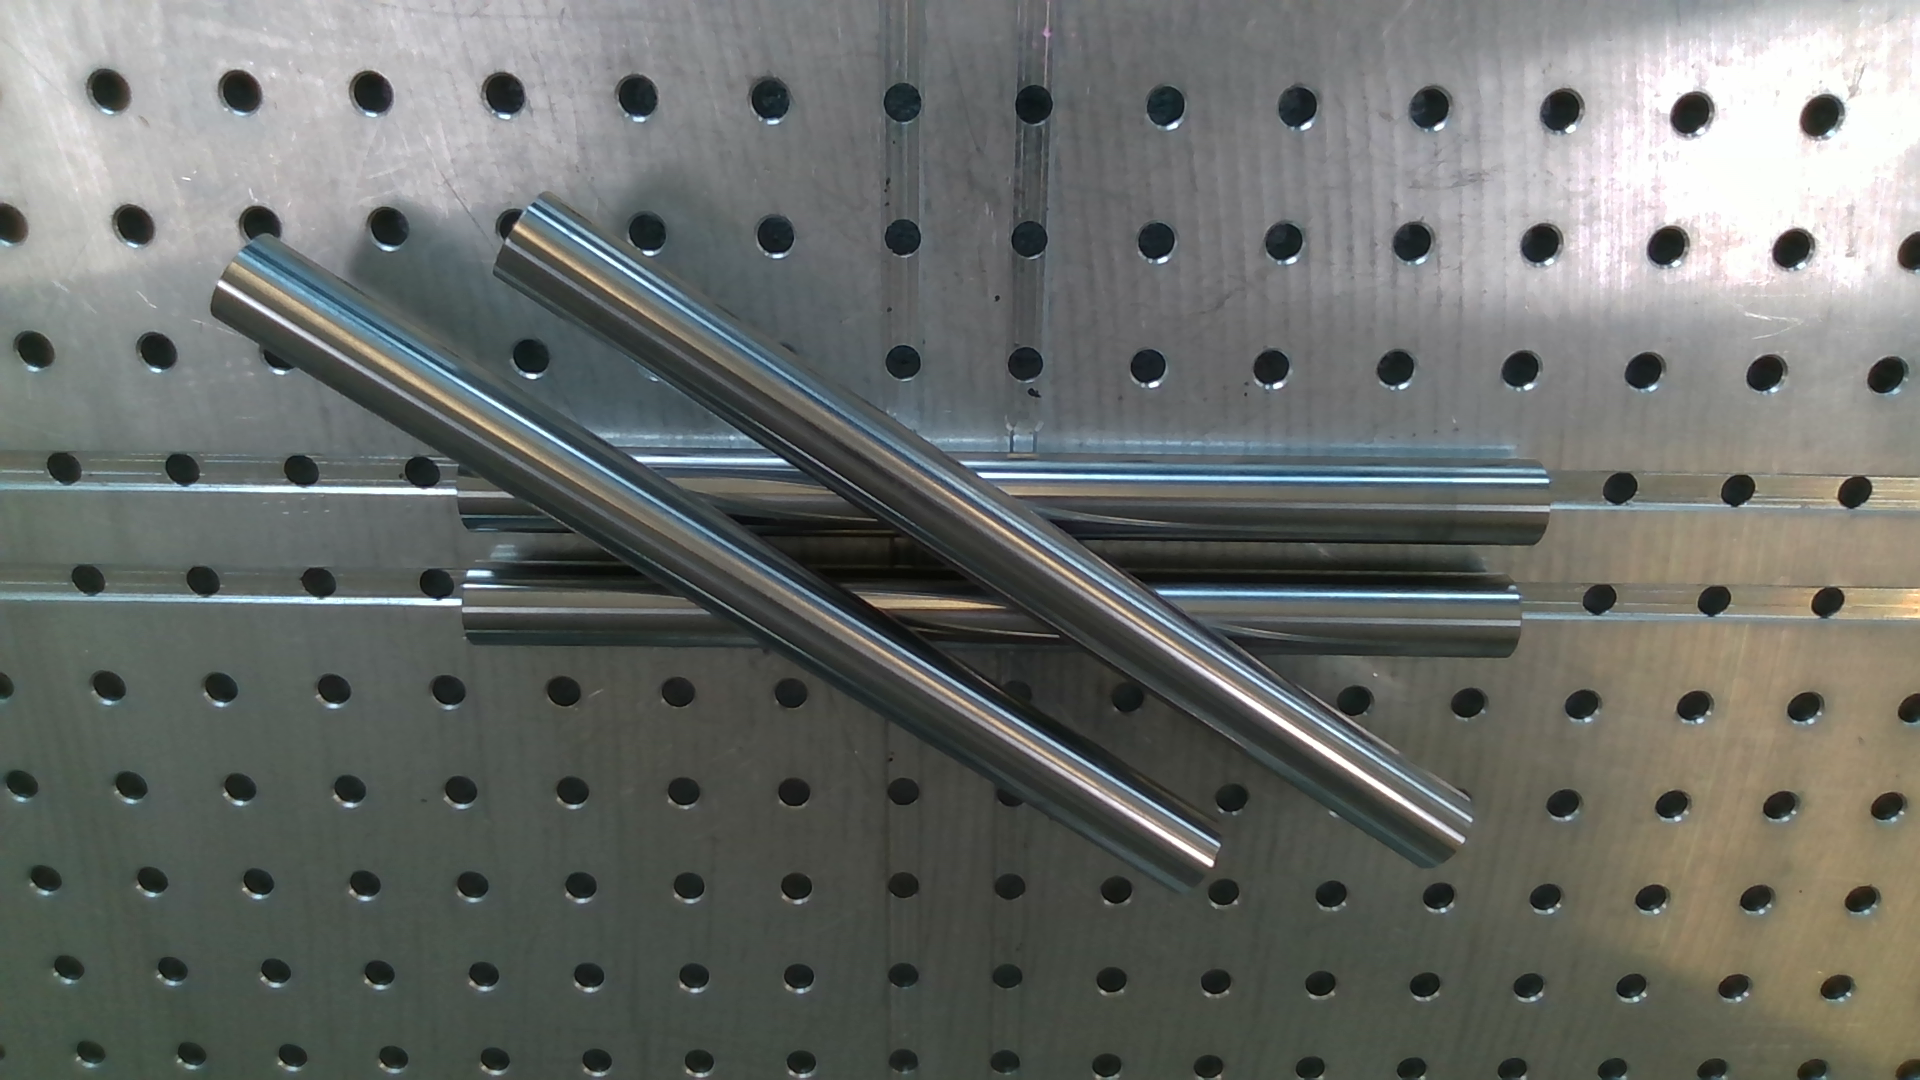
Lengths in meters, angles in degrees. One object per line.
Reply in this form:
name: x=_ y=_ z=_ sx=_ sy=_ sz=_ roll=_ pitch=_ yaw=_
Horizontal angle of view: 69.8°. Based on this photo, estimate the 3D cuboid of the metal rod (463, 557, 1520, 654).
metal rod: x=0.009 y=0.019 z=0.403 sx=0.300 sy=0.025 sz=0.025 roll=1 pitch=110 yaw=0

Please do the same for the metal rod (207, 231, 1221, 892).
metal rod: x=-0.056 y=0.012 z=0.373 sx=0.300 sy=0.025 sz=0.025 roll=32 pitch=107 yaw=-11

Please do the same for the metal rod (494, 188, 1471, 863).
metal rod: x=0.015 y=0.003 z=0.371 sx=0.300 sy=0.025 sz=0.025 roll=33 pitch=107 yaw=-11

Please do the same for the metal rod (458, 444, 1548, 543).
metal rod: x=0.012 y=-0.013 z=0.391 sx=0.300 sy=0.025 sz=0.025 roll=1 pitch=110 yaw=0
